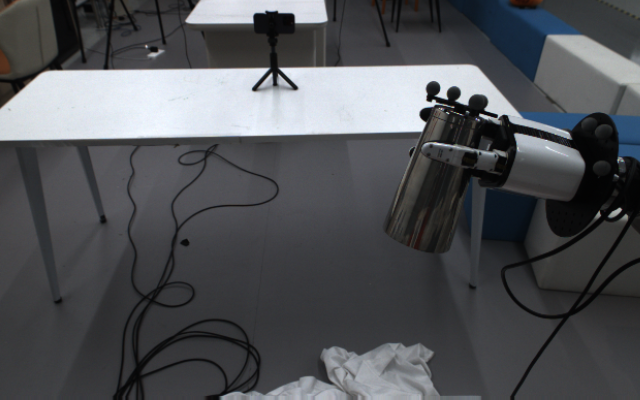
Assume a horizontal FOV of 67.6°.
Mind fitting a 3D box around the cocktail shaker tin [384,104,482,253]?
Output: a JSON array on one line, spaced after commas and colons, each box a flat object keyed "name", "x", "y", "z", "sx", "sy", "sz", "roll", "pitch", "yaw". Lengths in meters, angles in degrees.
[{"name": "cocktail shaker tin", "x": 0.151, "y": -0.032, "z": 0.620, "sx": 0.093, "sy": 0.170, "sz": 0.093, "roll": 14, "pitch": 18, "yaw": -5}]
